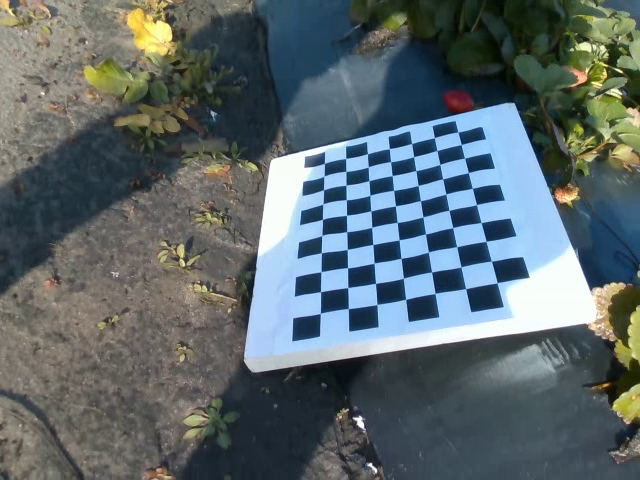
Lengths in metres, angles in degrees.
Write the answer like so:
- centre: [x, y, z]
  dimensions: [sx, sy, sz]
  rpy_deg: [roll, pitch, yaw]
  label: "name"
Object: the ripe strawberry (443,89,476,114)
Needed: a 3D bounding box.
- centre: [0.130, -0.135, 0.624]
  dimensions: [0.037, 0.034, 0.033]
  rpy_deg: [28, -55, -23]
  label: "ripe strawberry"
